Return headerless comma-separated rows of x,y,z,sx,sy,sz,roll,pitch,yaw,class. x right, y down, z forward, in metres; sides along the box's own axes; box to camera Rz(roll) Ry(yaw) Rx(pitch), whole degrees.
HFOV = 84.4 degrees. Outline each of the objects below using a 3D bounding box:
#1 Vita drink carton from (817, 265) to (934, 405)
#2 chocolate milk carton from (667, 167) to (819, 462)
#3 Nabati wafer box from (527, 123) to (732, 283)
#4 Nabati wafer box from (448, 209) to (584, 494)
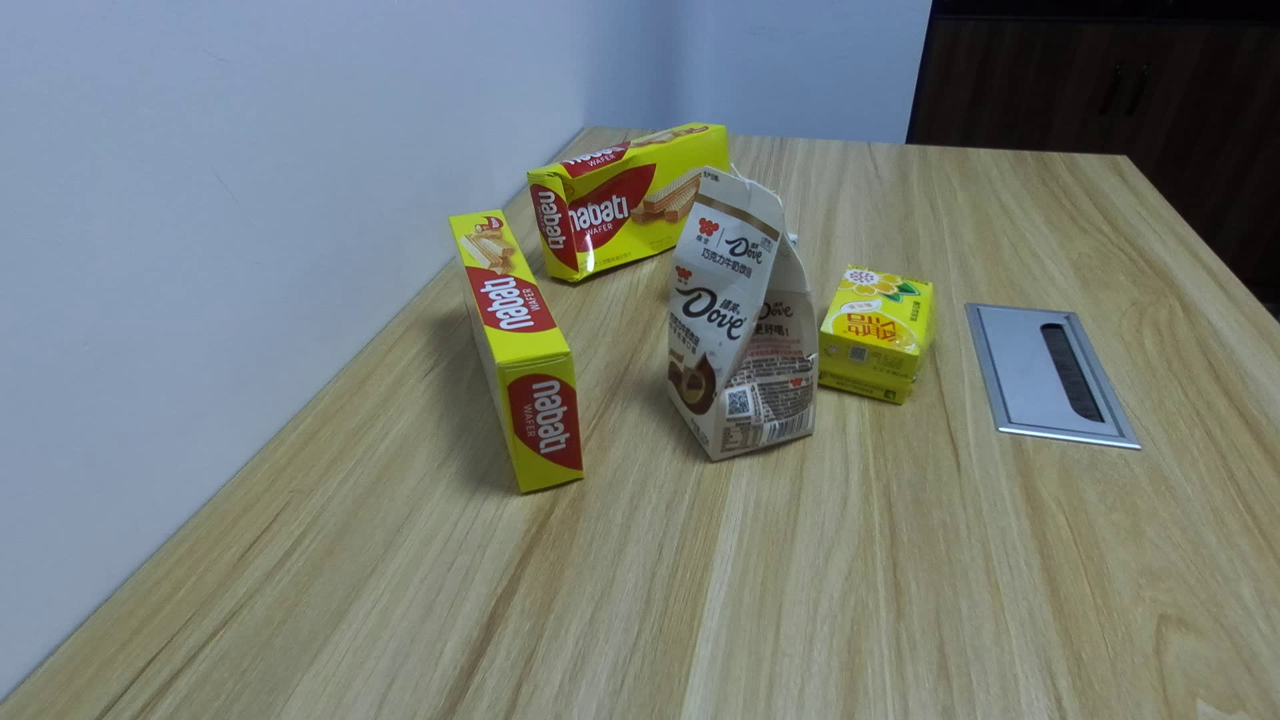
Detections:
0.168,-0.020,0.497,0.076,0.043,0.109,16,36,18,Vita drink carton
0.062,-0.028,0.410,0.073,0.155,0.084,-13,36,-16,chocolate milk carton
0.000,-0.147,0.641,0.204,0.096,0.042,-26,33,-32,Nabati wafer box
-0.083,-0.017,0.460,0.042,0.093,0.202,-13,36,-14,Nabati wafer box
